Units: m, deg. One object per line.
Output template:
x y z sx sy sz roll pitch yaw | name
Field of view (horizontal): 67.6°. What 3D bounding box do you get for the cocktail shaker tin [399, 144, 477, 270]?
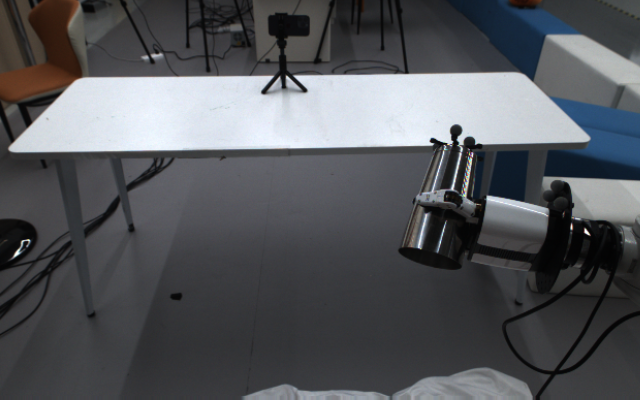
0.183 0.008 0.716 0.093 0.093 0.170 14 73 16 | cocktail shaker tin
